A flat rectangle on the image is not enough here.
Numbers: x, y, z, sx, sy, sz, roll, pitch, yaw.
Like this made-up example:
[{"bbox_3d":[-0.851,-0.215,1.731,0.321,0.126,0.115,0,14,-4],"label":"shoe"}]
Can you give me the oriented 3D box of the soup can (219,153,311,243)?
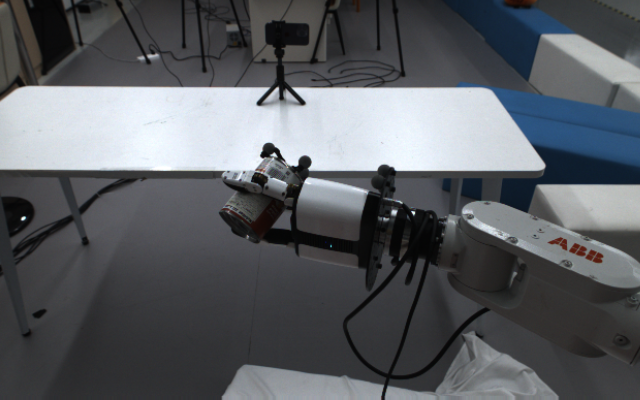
[{"bbox_3d":[-0.077,-0.001,0.653,0.067,0.067,0.101,25,66,30],"label":"soup can"}]
